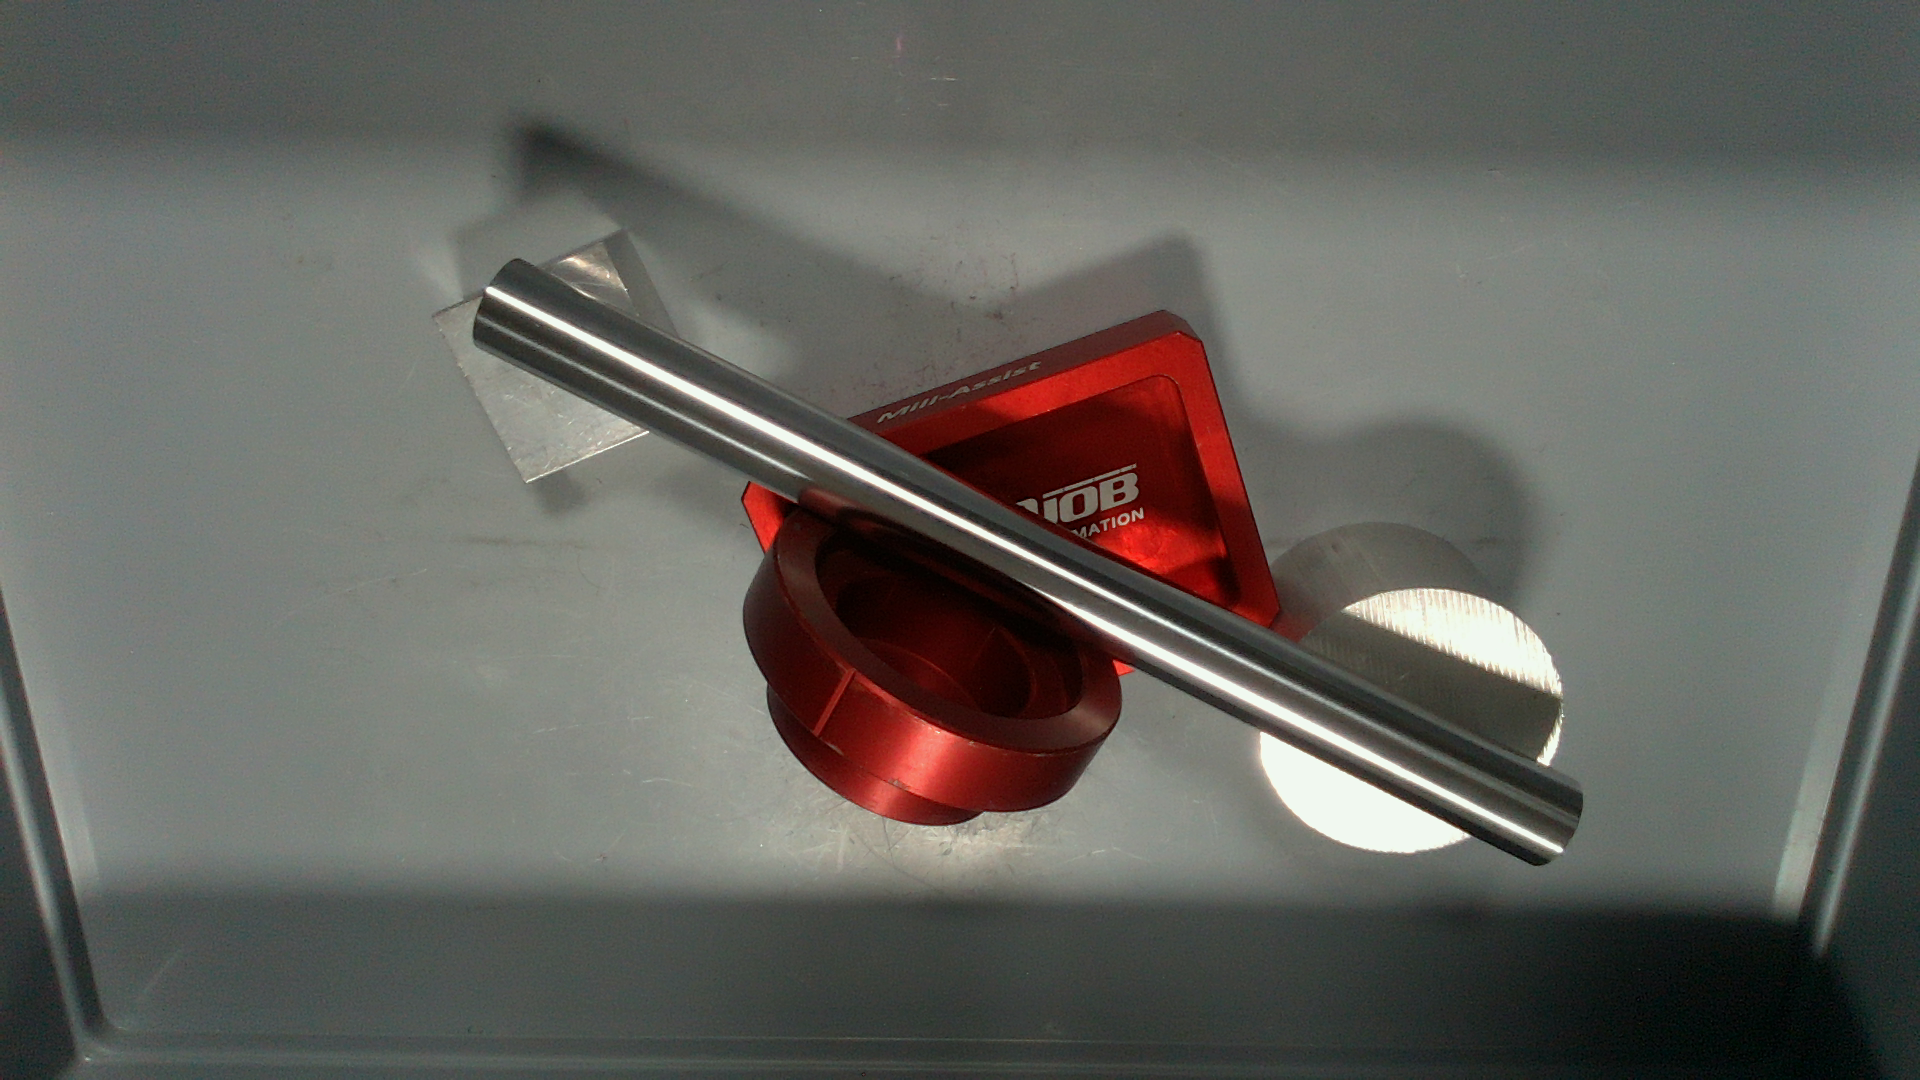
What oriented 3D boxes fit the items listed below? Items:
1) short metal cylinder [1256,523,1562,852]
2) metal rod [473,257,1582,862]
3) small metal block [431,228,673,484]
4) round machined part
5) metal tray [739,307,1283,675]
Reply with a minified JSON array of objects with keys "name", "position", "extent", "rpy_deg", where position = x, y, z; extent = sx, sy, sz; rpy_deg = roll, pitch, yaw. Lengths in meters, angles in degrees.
[{"name":"short metal cylinder","position":[0.122,0.041,0.395],"extent":[0.080,0.050,0.080],"rpy_deg":[0,110,0]},{"name":"metal rod","position":[0.019,0.006,0.352],"extent":[0.300,0.025,0.025],"rpy_deg":[26,108,-3]},{"name":"small metal block","position":[-0.105,-0.050,0.374],"extent":[0.050,0.025,0.050],"rpy_deg":[-21,109,7]},{"name":"round machined part","position":[-0.011,0.035,0.353],"extent":[0.098,0.098,0.042],"rpy_deg":[26,116,-9]},{"name":"metal tray","position":[0.015,-0.001,0.389],"extent":[0.130,0.030,0.090],"rpy_deg":[-18,109,6]}]
